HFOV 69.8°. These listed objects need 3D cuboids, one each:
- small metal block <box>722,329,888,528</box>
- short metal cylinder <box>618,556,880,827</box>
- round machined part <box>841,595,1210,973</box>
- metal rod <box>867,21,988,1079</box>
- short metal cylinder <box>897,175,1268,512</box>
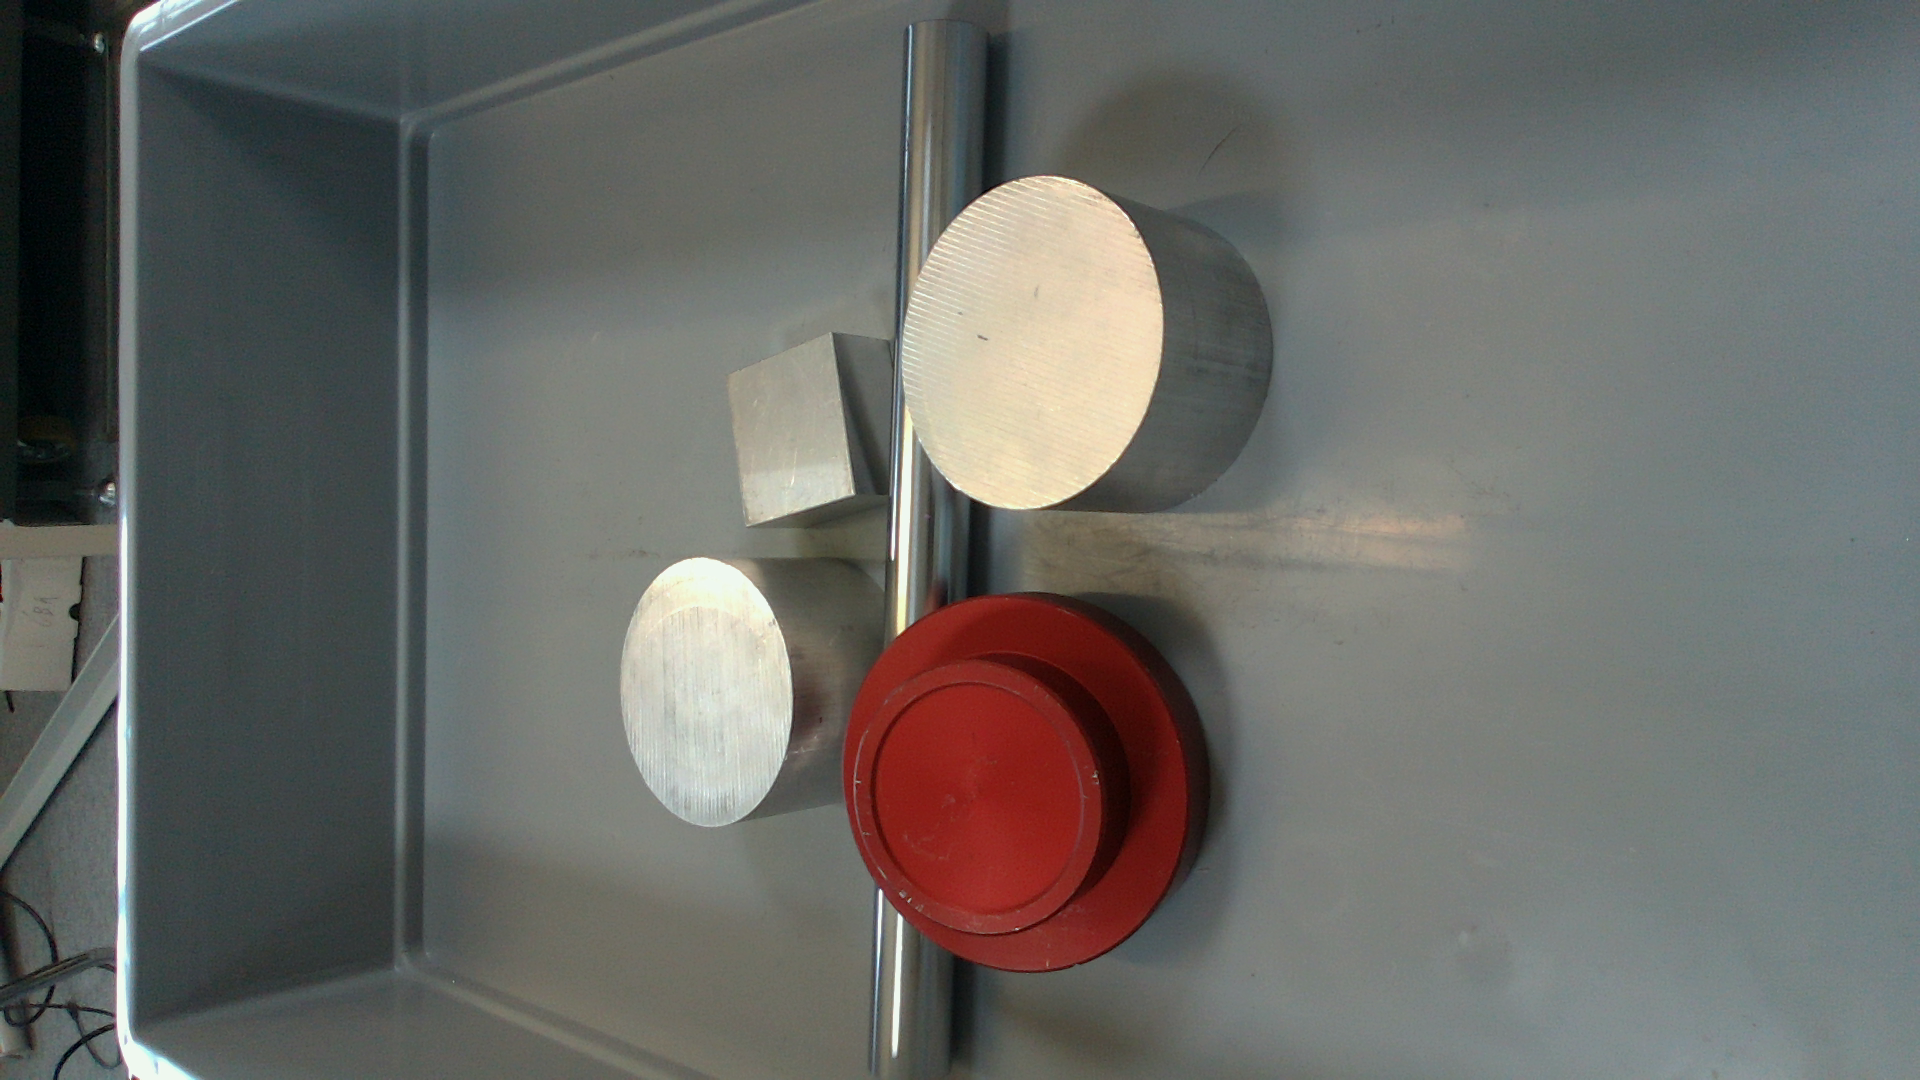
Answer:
[{"bbox_3d":[-0.046,-0.033,0.431,0.050,0.025,0.050,-15,81,39],"label":"small metal block"},{"bbox_3d":[-0.061,0.045,0.428,0.080,0.050,0.080,0,90,40],"label":"short metal cylinder"},{"bbox_3d":[0.012,0.063,0.356,0.098,0.042,0.098,0,89,24],"label":"round machined part"},{"bbox_3d":[-0.010,0.005,0.401,0.025,0.025,0.300,4,92,40],"label":"metal rod"},{"bbox_3d":[0.030,-0.047,0.350,0.080,0.050,0.080,0,90,40],"label":"short metal cylinder"}]
